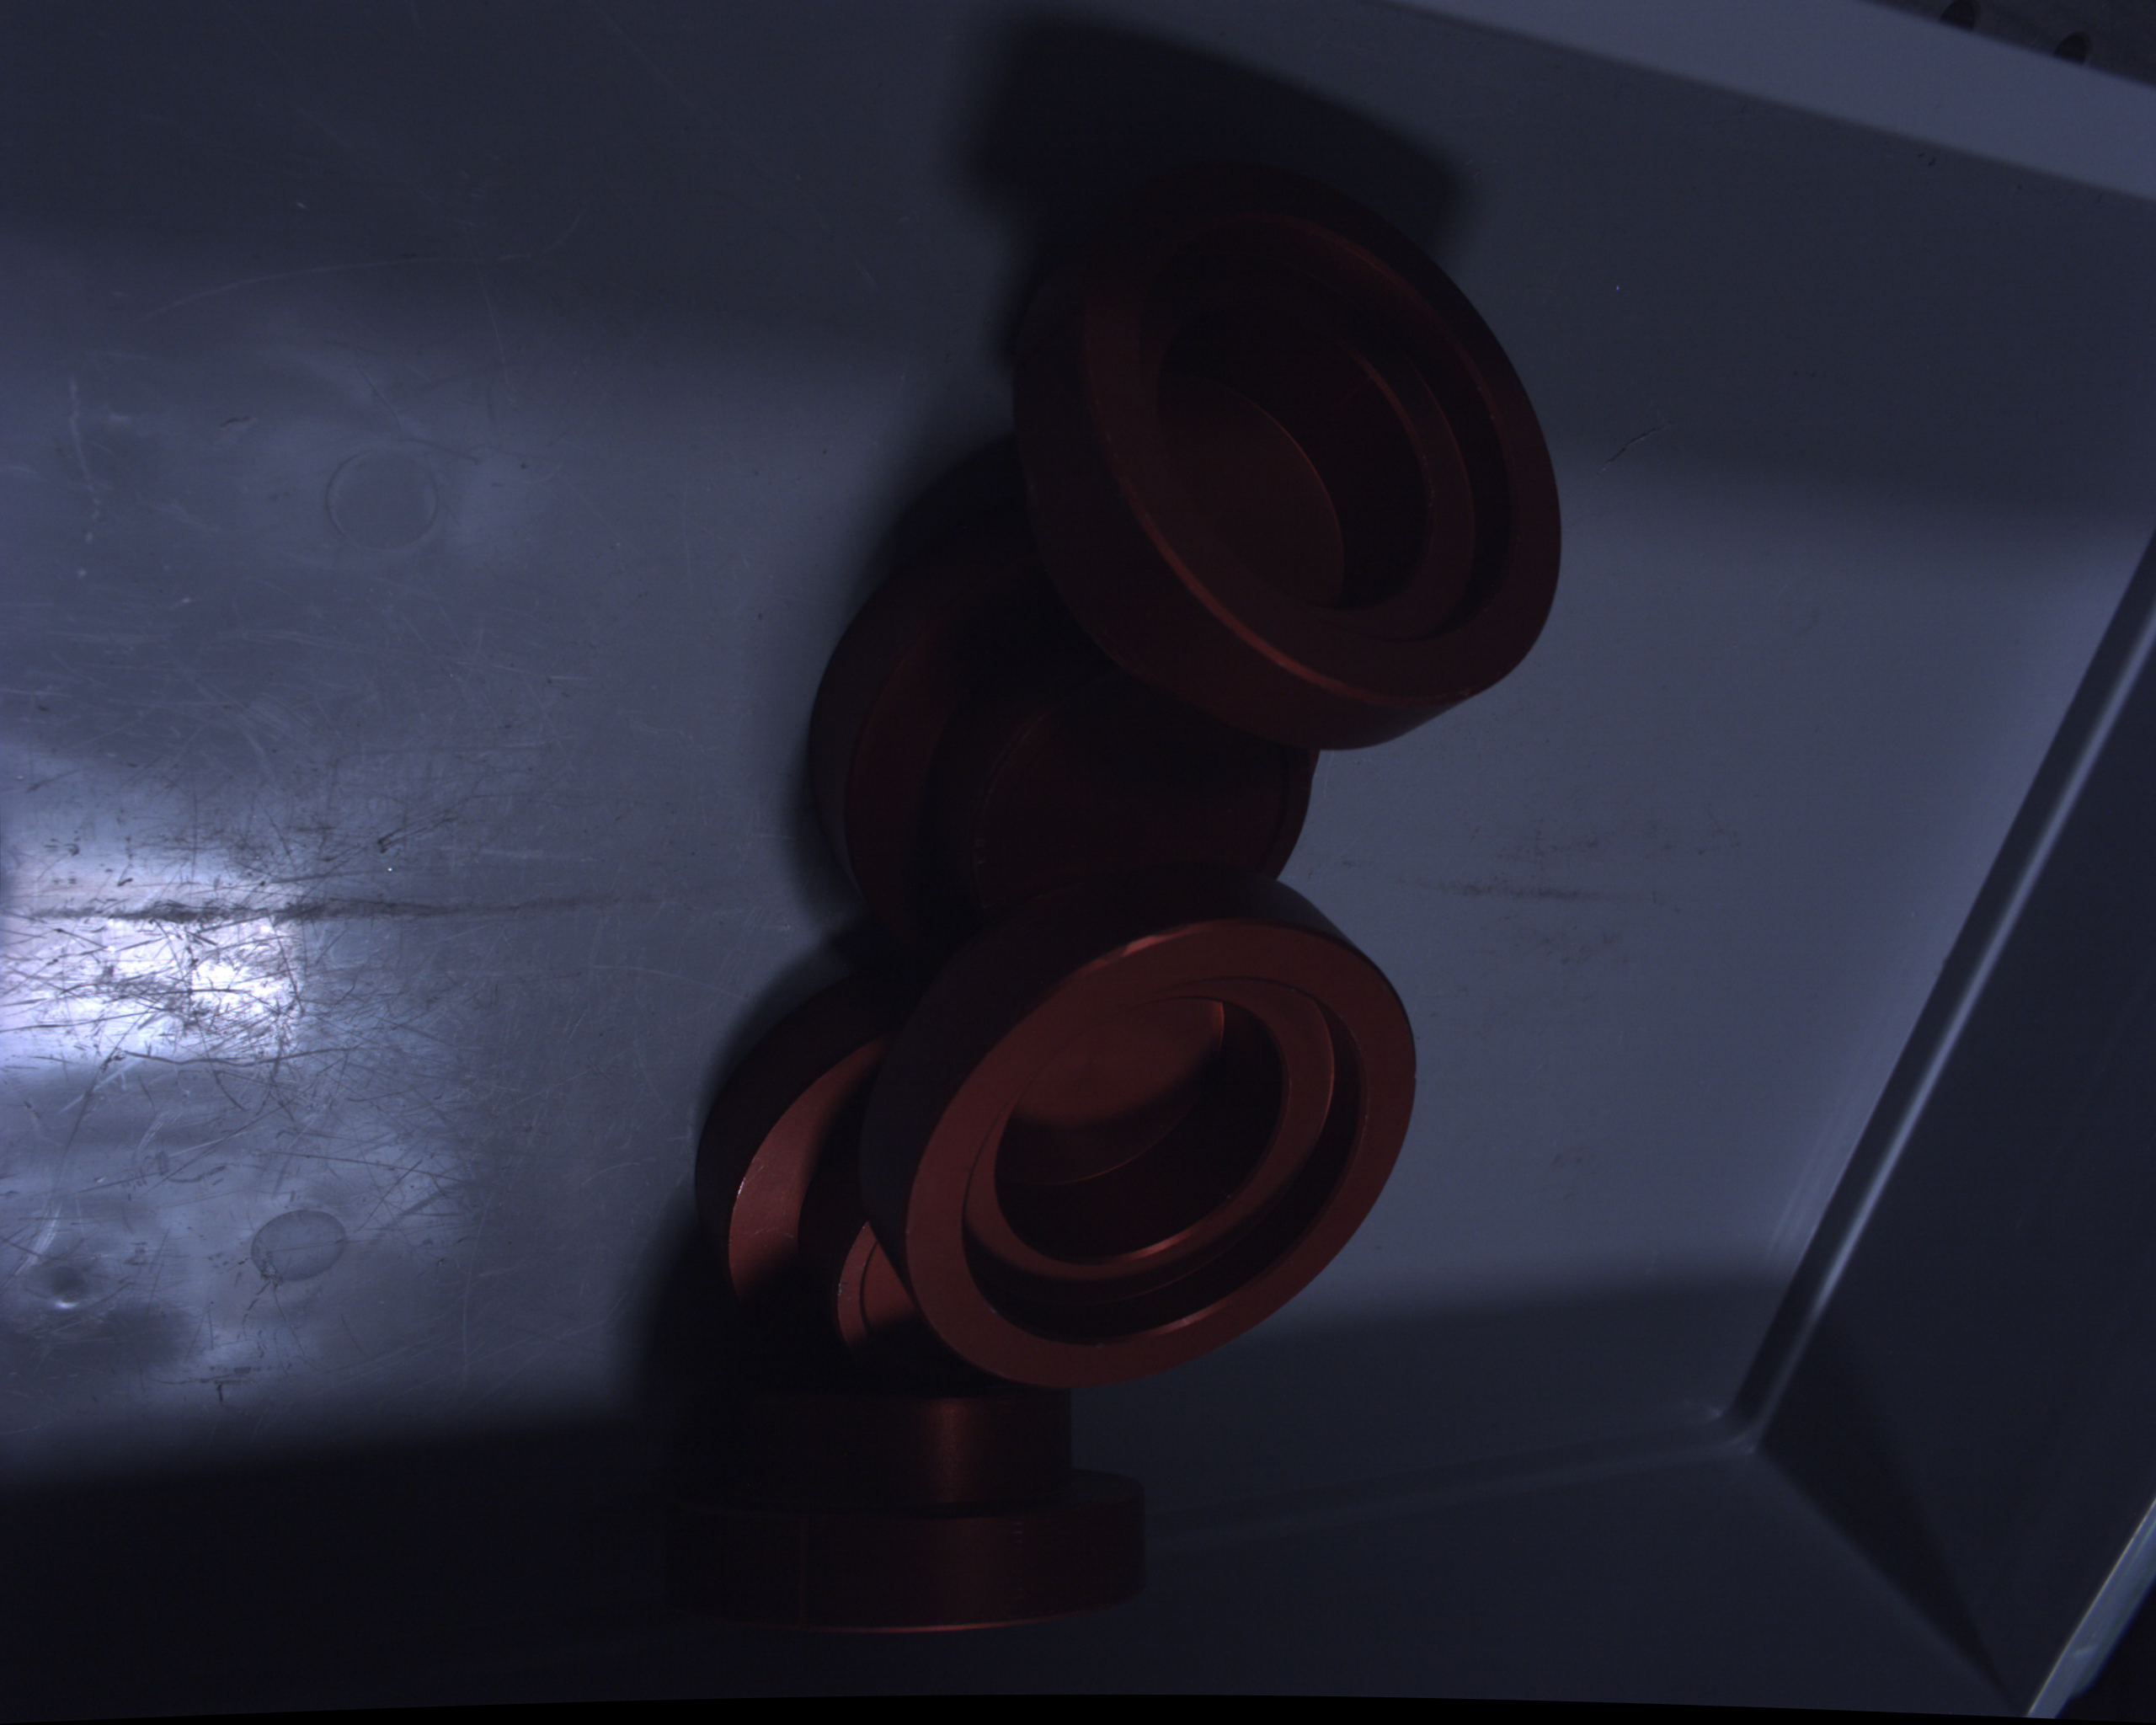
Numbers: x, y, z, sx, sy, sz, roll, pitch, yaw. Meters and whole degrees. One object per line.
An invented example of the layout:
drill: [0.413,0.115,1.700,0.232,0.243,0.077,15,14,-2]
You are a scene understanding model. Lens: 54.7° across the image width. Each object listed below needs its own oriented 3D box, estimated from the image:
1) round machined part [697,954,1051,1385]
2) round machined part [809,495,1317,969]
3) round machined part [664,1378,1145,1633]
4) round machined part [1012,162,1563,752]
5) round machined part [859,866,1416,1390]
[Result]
round machined part: [-0.024,0.069,0.426,0.099,0.042,0.097,-14,125,-21]
round machined part: [0.004,-0.017,0.388,0.099,0.042,0.097,-14,125,-21]
round machined part: [-0.035,0.130,0.435,0.099,0.098,0.042,6,78,-32]
round machined part: [0.031,-0.064,0.351,0.099,0.098,0.042,7,157,-32]
round machined part: [0.007,0.043,0.372,0.099,0.042,0.097,-14,125,-21]
